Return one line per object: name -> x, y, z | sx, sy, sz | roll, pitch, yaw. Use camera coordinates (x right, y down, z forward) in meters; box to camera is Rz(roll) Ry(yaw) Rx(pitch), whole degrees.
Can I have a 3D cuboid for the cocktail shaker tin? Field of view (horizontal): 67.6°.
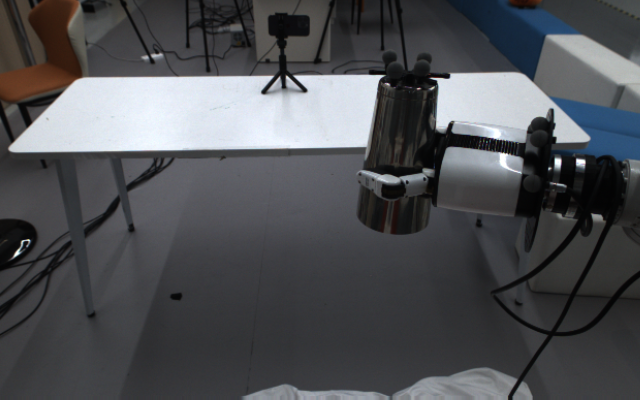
cocktail shaker tin -> 0.097, -0.056, 0.575 | 0.093, 0.170, 0.093 | 2, 28, -1
